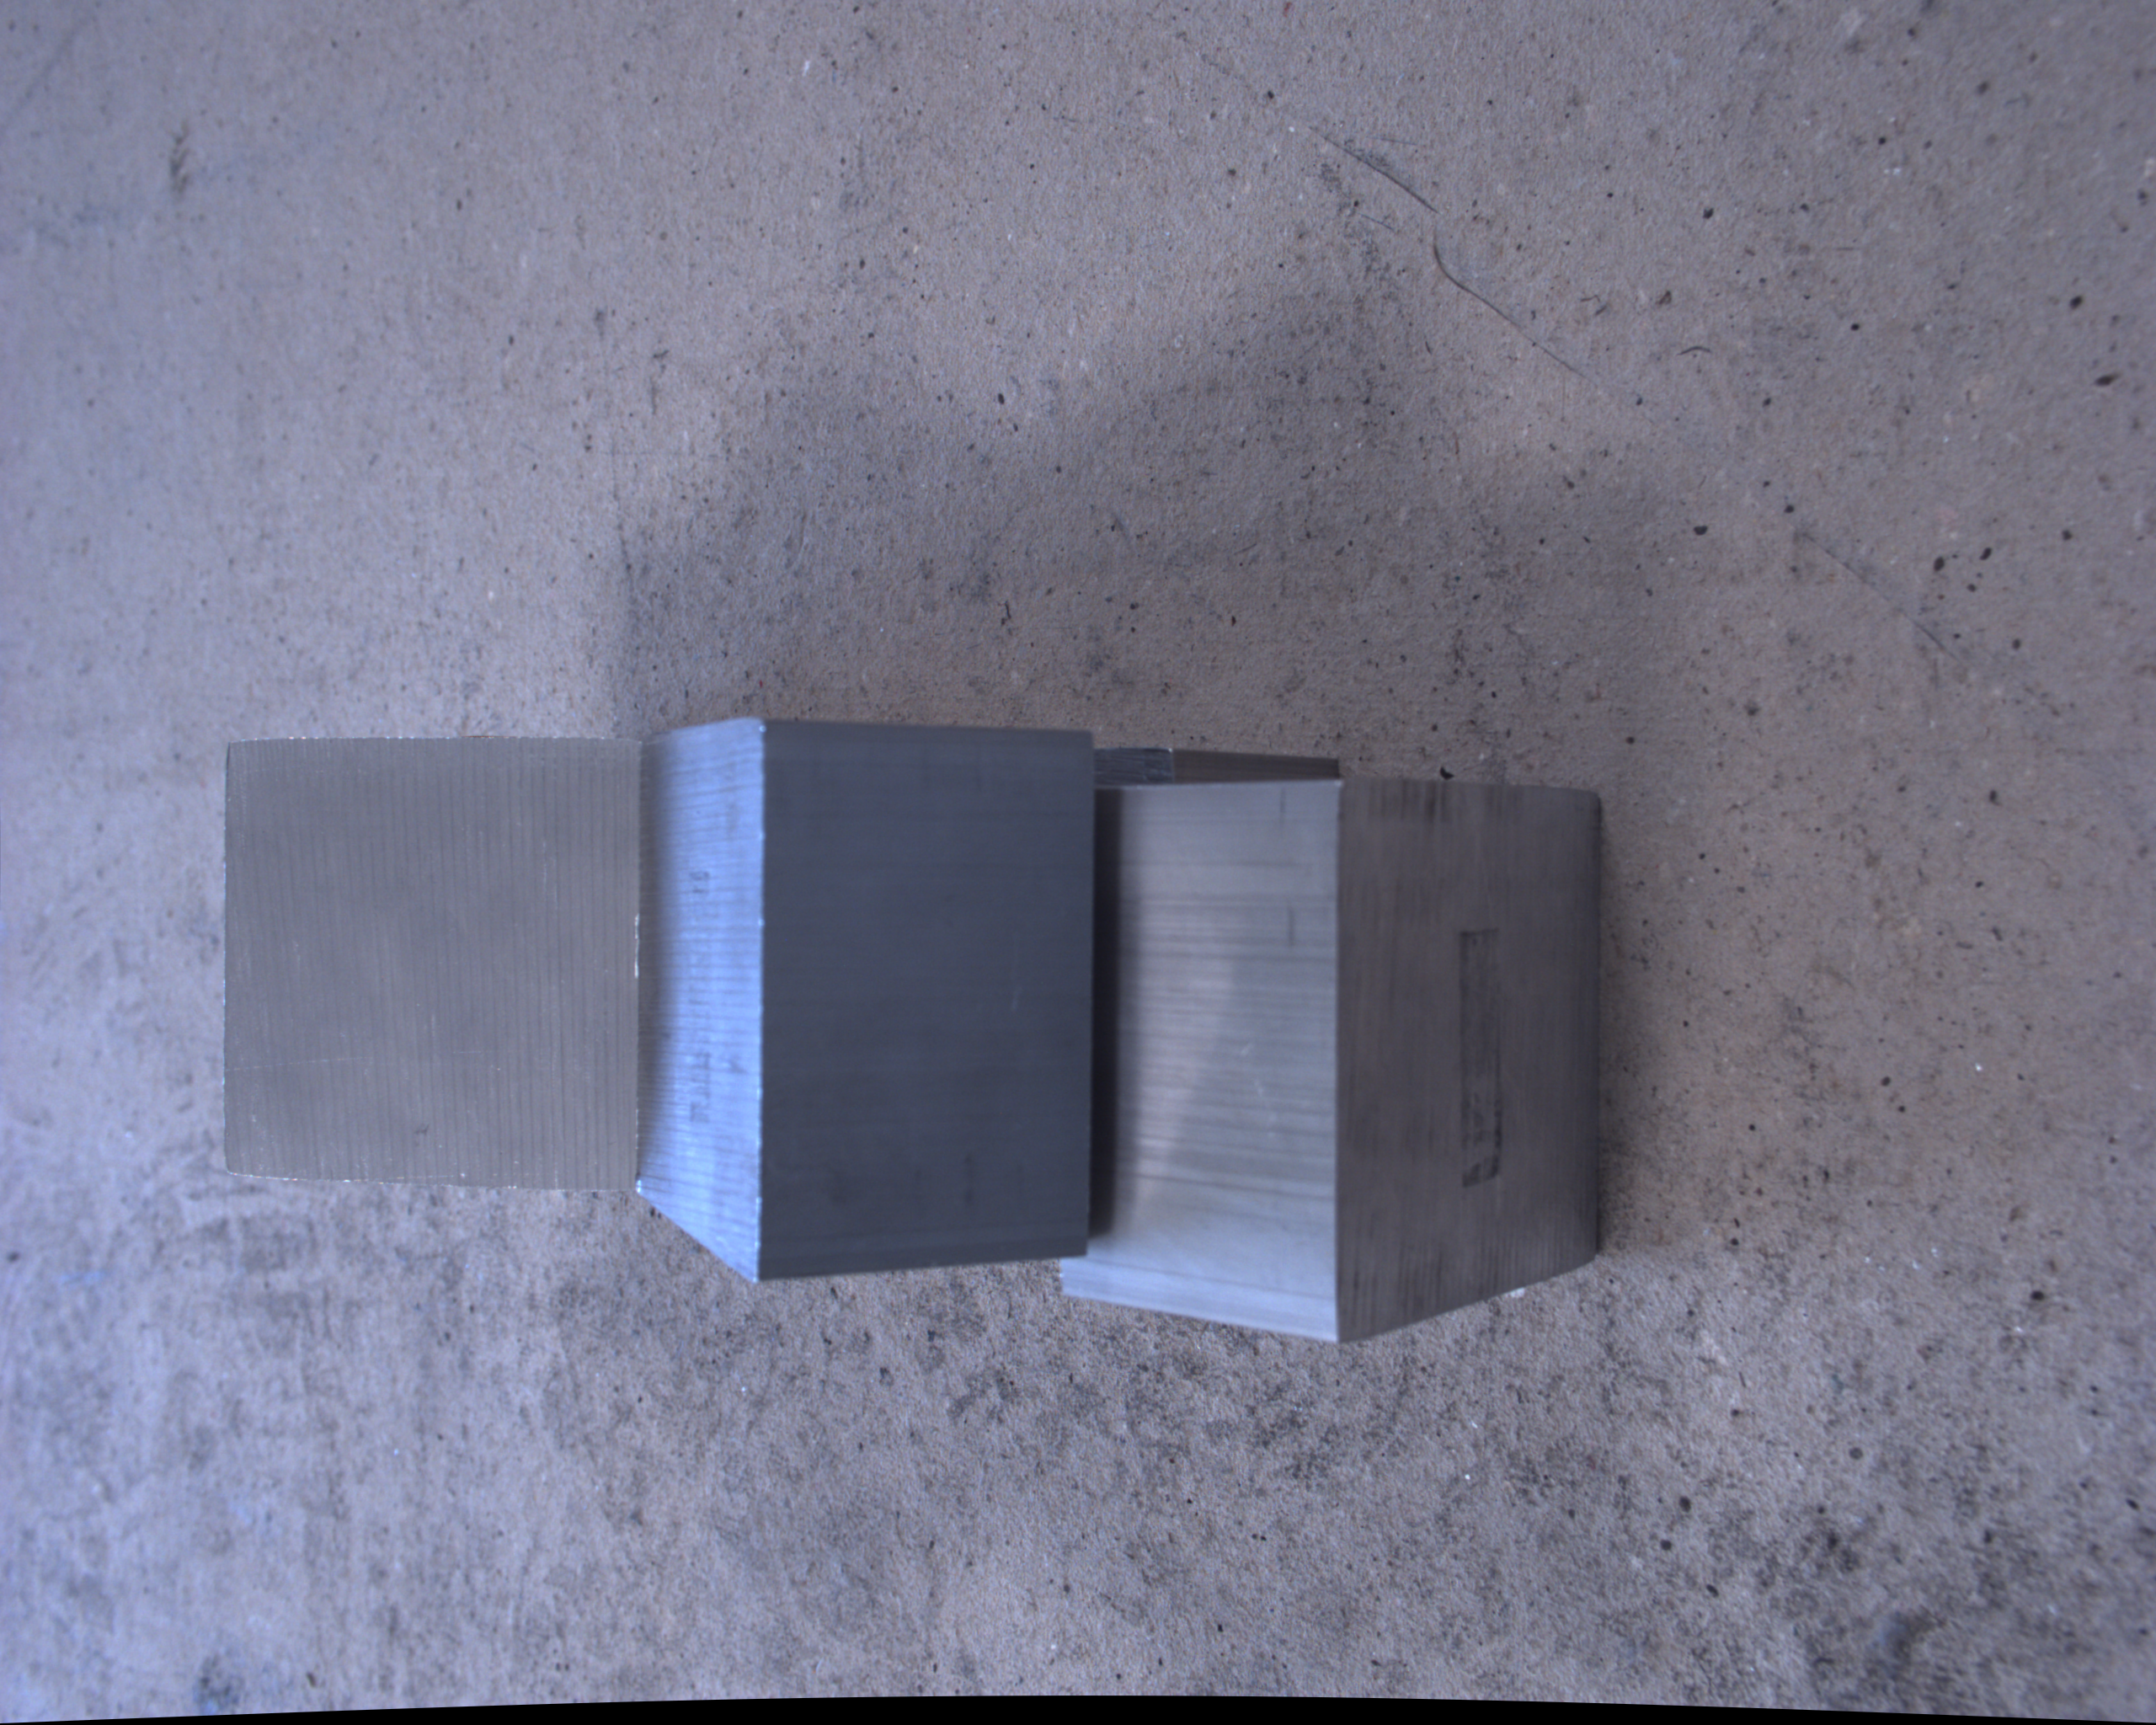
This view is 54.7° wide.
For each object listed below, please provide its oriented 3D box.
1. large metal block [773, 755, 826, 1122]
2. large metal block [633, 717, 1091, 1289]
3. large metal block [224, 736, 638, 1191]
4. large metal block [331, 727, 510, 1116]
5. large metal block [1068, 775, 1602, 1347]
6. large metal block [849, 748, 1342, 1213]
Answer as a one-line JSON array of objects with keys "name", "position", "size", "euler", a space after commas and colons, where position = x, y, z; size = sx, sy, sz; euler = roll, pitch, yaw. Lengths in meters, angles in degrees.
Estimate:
[{"name": "large metal block", "position": [-0.061, 0.017, 0.440], "size": [0.080, 0.050, 0.080], "euler": [0, 90, 40]}, {"name": "large metal block", "position": [-0.038, 0.019, 0.336], "size": [0.080, 0.050, 0.080], "euler": [-177, 88, -66]}, {"name": "large metal block", "position": [-0.110, 0.017, 0.395], "size": [0.080, 0.050, 0.080], "euler": [1, 90, 11]}, {"name": "large metal block", "position": [-0.122, 0.013, 0.471], "size": [0.050, 0.081, 0.080], "euler": [0, 89, 40]}, {"name": "large metal block", "position": [0.043, 0.027, 0.336], "size": [0.050, 0.081, 0.080], "euler": [0, 90, 39]}, {"name": "large metal block", "position": [0.001, 0.021, 0.388], "size": [0.080, 0.050, 0.080], "euler": [0, 90, 40]}]
